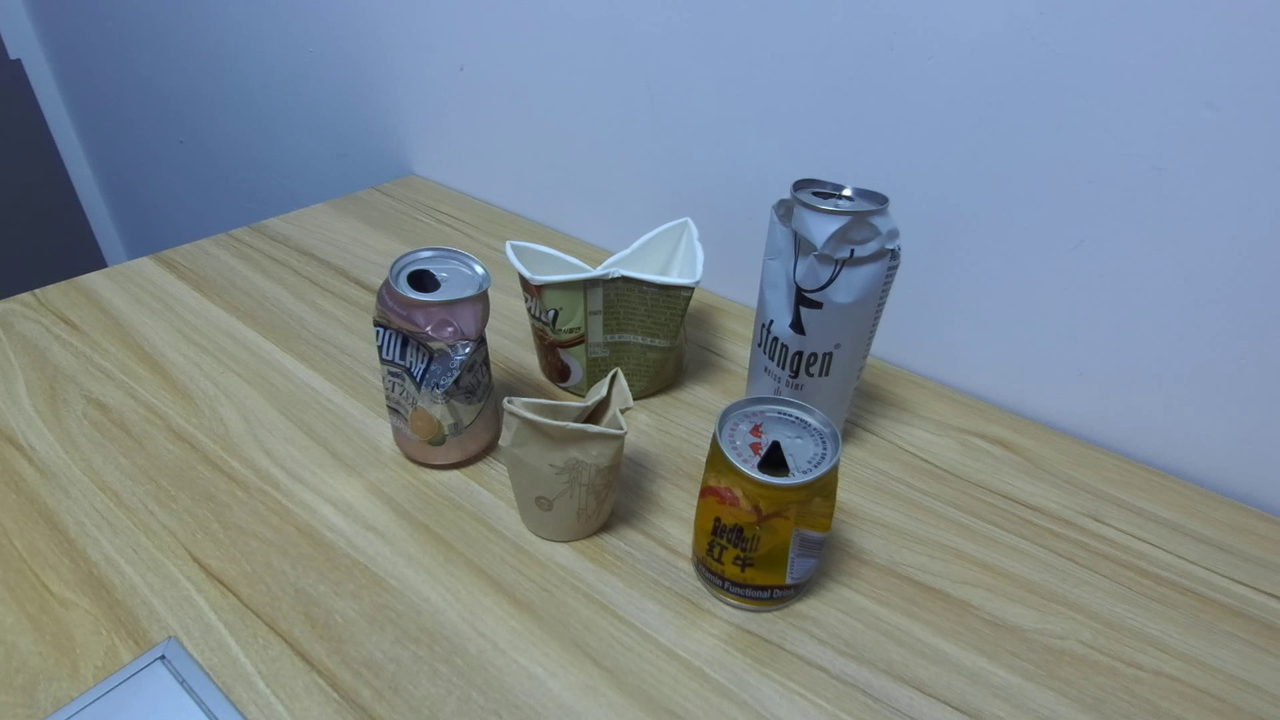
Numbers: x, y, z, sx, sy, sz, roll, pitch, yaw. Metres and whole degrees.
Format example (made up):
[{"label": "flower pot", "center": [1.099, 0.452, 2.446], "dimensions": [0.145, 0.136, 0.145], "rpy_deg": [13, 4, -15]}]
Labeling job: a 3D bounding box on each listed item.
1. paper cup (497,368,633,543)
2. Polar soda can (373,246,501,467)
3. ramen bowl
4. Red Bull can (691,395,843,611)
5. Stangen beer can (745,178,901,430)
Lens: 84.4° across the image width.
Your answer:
[{"label": "paper cup", "center": [-0.038, 0.049, 0.385], "dimensions": [0.066, 0.083, 0.058], "rpy_deg": [8, 33, 6]}, {"label": "Polar soda can", "center": [-0.115, 0.001, 0.420], "dimensions": [0.067, 0.122, 0.070], "rpy_deg": [-18, 41, -35]}, {"label": "ramen bowl", "center": [-0.024, -0.040, 0.501], "dimensions": [0.128, 0.093, 0.111], "rpy_deg": [0, 35, -4]}, {"label": "Red Bull can", "center": [0.062, 0.071, 0.353], "dimensions": [0.072, 0.092, 0.072], "rpy_deg": [2, 35, -1]}, {"label": "Stangen beer can", "center": [0.104, -0.022, 0.423], "dimensions": [0.066, 0.166, 0.065], "rpy_deg": [-5, 35, -13]}]
